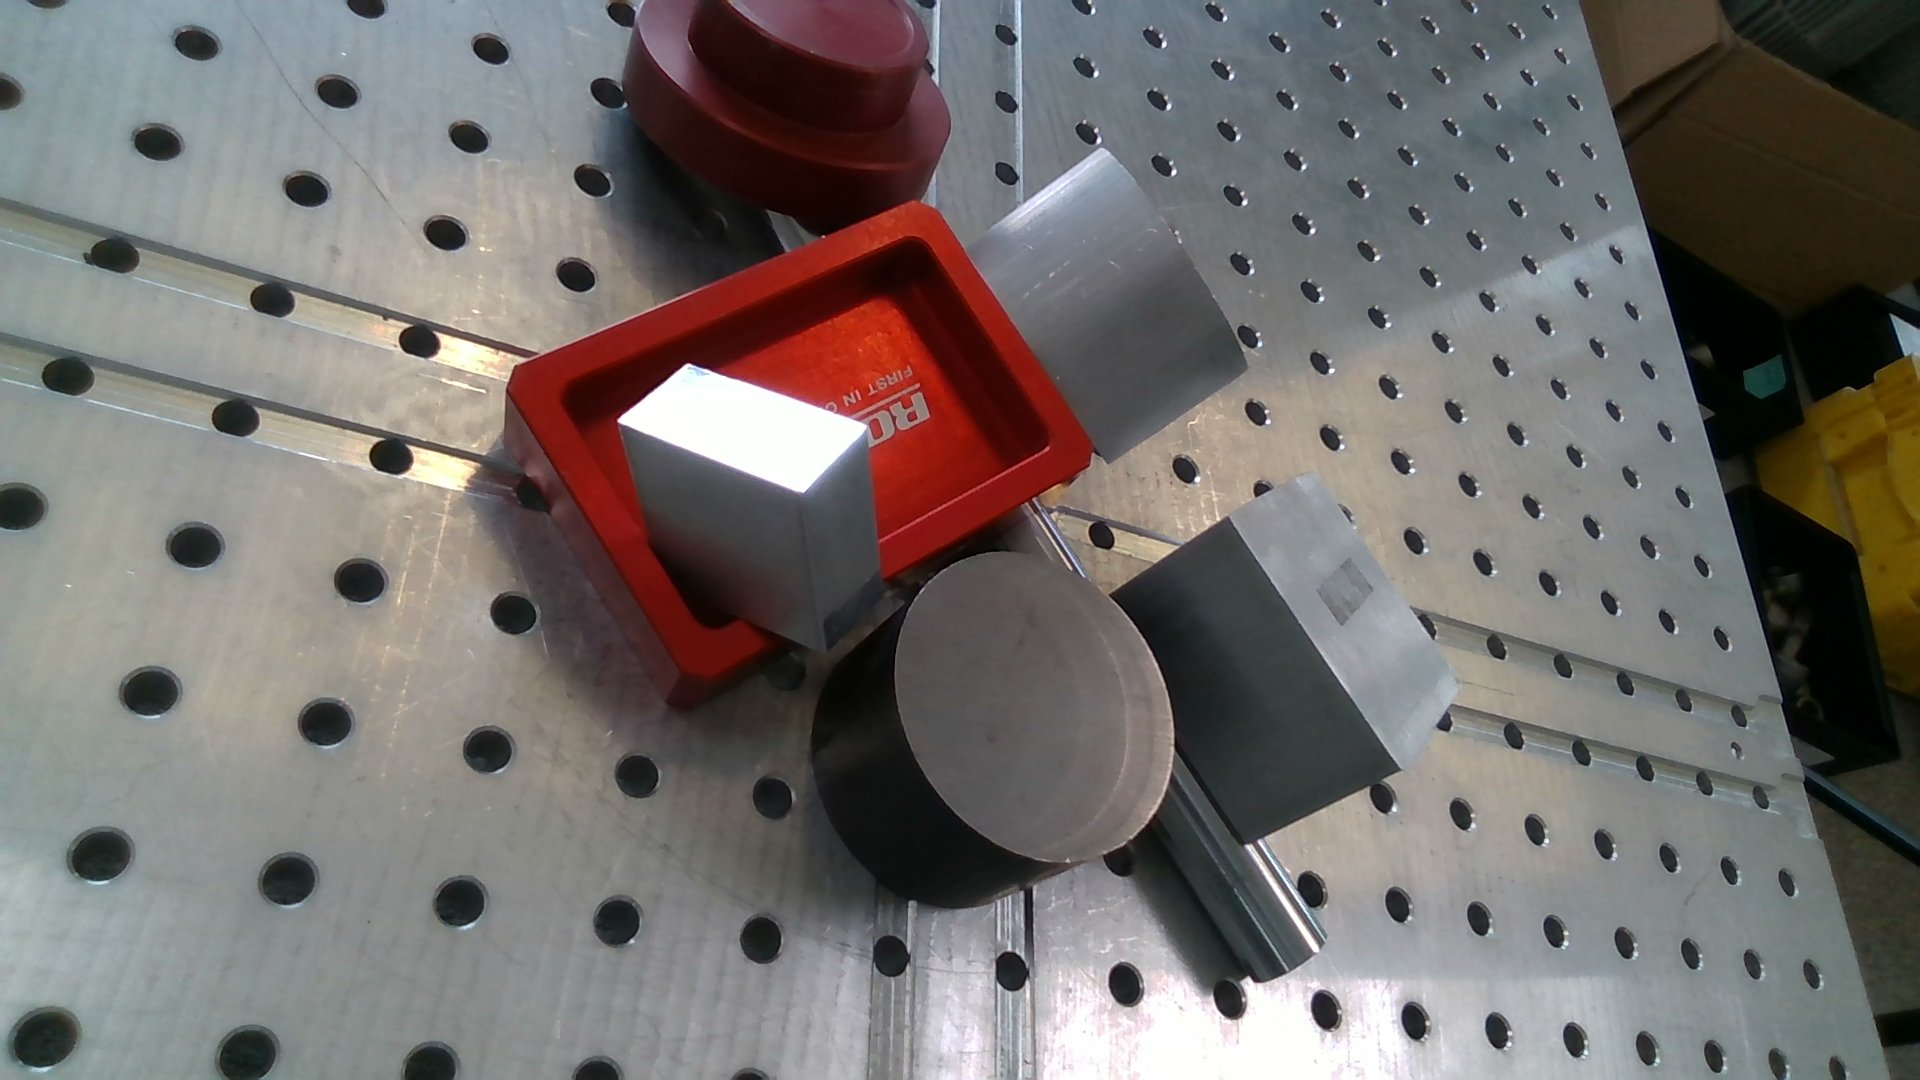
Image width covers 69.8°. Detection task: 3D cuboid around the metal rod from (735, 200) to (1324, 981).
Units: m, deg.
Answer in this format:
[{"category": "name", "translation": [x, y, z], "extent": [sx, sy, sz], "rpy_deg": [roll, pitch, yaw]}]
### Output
[{"category": "metal rod", "translation": [0.011, -0.006, 0.409], "extent": [0.025, 0.025, 0.300], "rpy_deg": [-28, 81, -38]}]

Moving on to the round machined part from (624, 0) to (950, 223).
[{"category": "round machined part", "translation": [-0.048, -0.143, 0.415], "extent": [0.098, 0.042, 0.098], "rpy_deg": [16, 43, -15]}]

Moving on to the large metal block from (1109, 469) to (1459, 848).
[{"category": "large metal block", "translation": [0.095, 0.031, 0.407], "extent": [0.080, 0.050, 0.080], "rpy_deg": [58, 32, 7]}]

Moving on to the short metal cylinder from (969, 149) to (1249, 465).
[{"category": "short metal cylinder", "translation": [0.044, -0.070, 0.418], "extent": [0.080, 0.050, 0.080], "rpy_deg": [54, 8, -11]}]

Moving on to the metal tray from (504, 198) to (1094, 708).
[{"category": "metal tray", "translation": [-0.040, -0.027, 0.364], "extent": [0.130, 0.030, 0.090], "rpy_deg": [-30, 82, -26]}]

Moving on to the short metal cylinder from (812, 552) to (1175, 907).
[{"category": "short metal cylinder", "translation": [0.008, 0.050, 0.358], "extent": [0.080, 0.050, 0.080], "rpy_deg": [14, 59, -25]}]

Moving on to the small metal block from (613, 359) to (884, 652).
[{"category": "small metal block", "translation": [-0.047, -0.008, 0.318], "extent": [0.050, 0.050, 0.025], "rpy_deg": [21, 49, 23]}]
